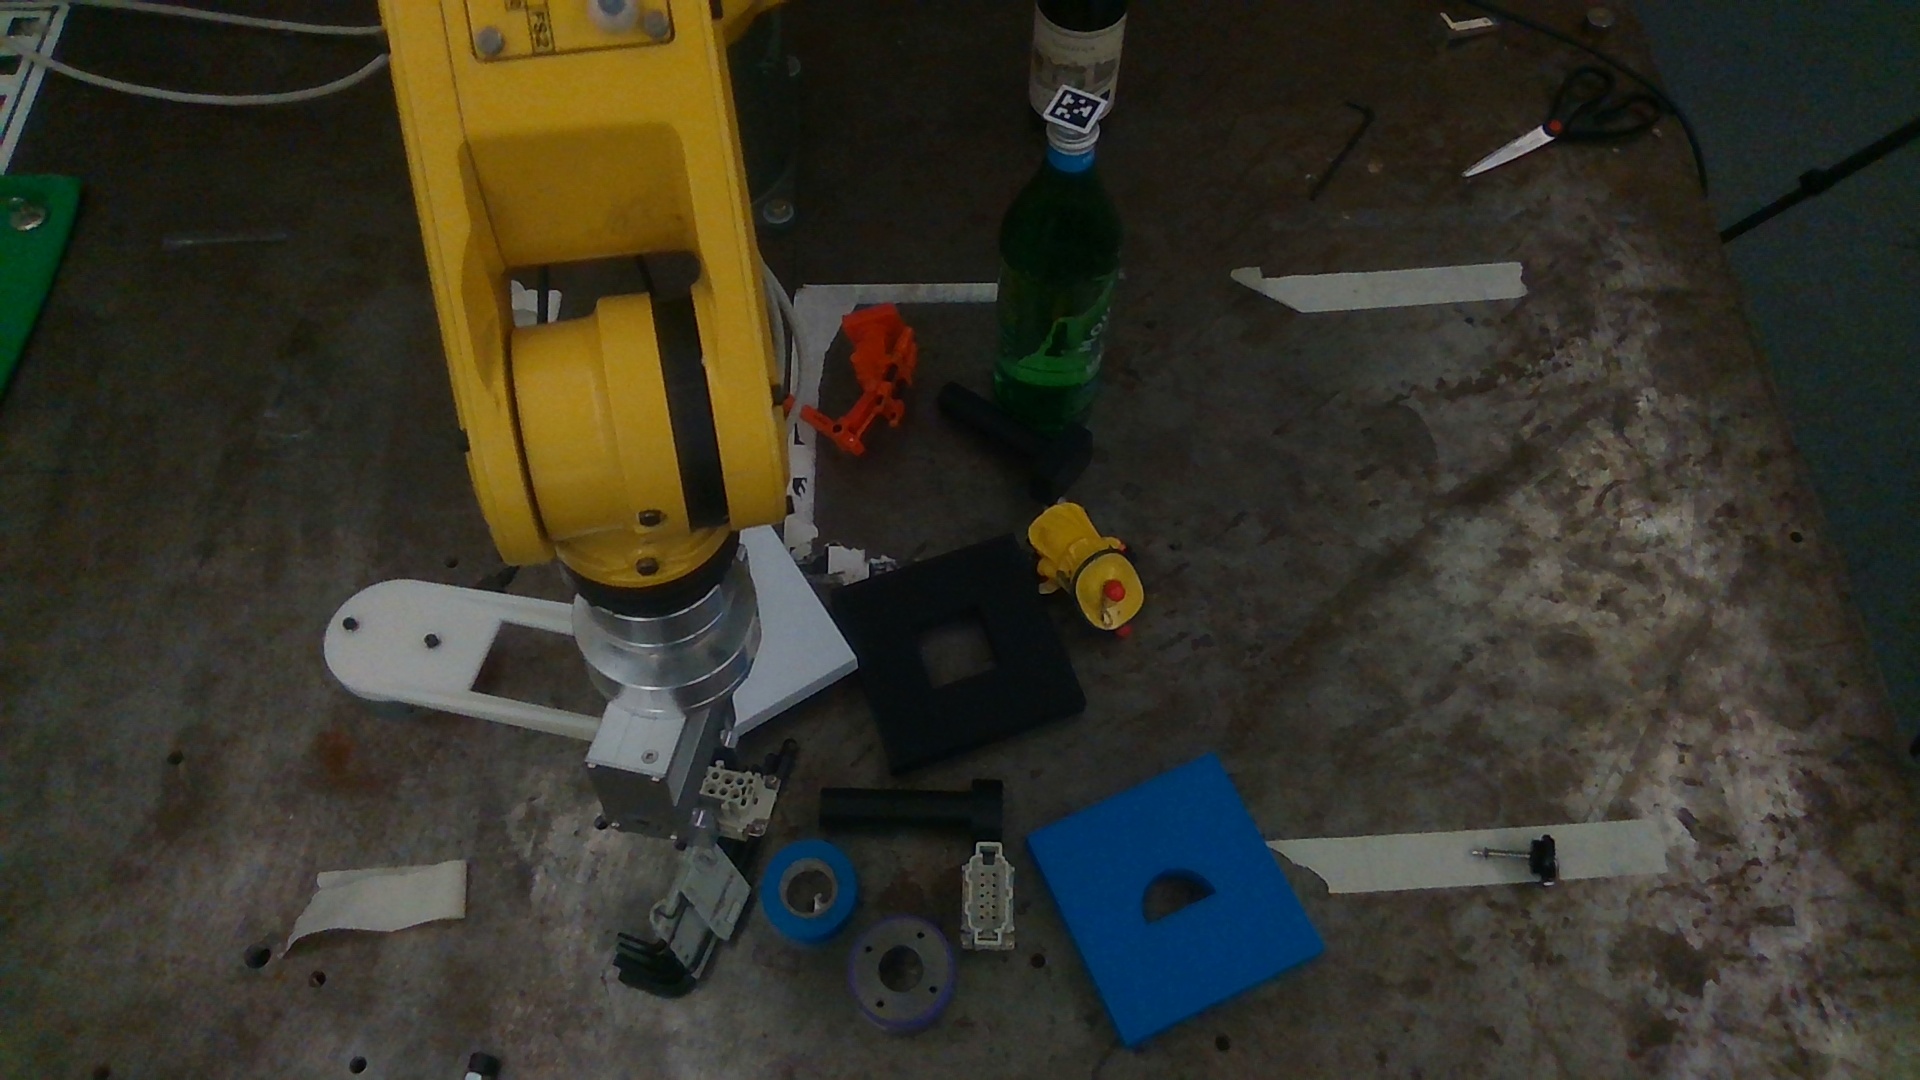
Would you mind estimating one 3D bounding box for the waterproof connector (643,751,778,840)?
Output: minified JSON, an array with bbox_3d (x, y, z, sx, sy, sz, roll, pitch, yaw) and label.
[{"bbox_3d":[-0.135,0.138,0.756,0.069,0.038,0.036,11,64,7],"label":"waterproof connector"}]
